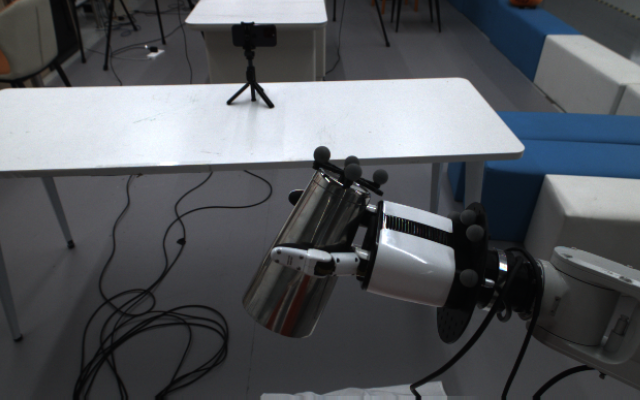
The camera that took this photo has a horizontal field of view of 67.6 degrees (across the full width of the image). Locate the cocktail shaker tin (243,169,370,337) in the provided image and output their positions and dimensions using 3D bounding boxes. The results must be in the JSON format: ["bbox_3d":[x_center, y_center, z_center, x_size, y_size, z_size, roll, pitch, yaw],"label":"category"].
[{"bbox_3d":[-0.008,0.053,0.537,0.093,0.170,0.093,24,12,-6],"label":"cocktail shaker tin"}]
